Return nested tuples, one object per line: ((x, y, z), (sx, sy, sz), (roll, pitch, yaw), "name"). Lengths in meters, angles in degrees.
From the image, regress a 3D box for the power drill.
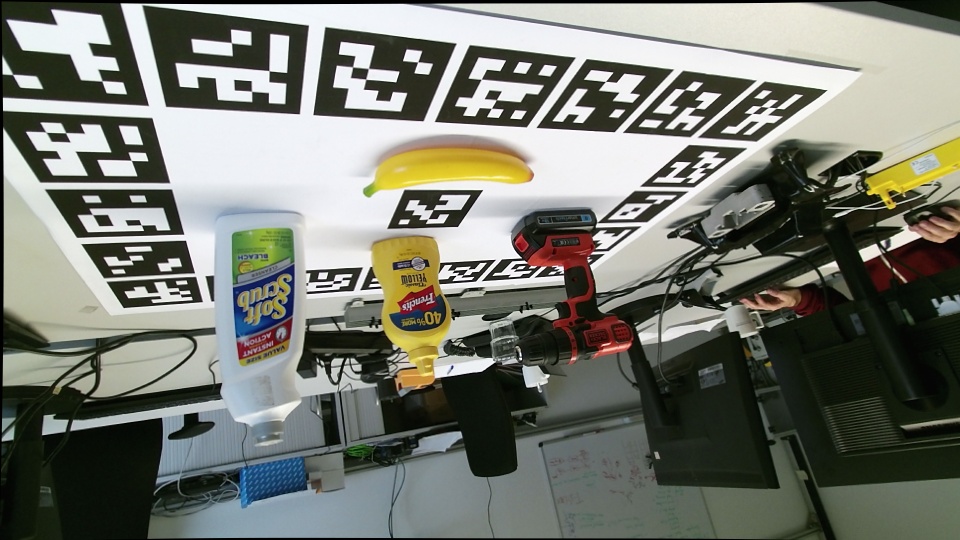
((0.114, 0.048, 0.770), (0.185, 0.186, 0.057), (-10, 158, -19), "power drill")

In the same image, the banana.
((-0.024, -0.098, 0.593), (0.198, 0.038, 0.074), (-9, 156, -19), "banana")

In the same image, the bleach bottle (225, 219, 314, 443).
((-0.231, 0.065, 0.608), (0.103, 0.249, 0.068), (0, 155, -30), "bleach bottle")

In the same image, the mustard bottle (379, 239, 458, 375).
((-0.082, 0.052, 0.748), (0.096, 0.190, 0.058), (-6, 157, -15), "mustard bottle")
